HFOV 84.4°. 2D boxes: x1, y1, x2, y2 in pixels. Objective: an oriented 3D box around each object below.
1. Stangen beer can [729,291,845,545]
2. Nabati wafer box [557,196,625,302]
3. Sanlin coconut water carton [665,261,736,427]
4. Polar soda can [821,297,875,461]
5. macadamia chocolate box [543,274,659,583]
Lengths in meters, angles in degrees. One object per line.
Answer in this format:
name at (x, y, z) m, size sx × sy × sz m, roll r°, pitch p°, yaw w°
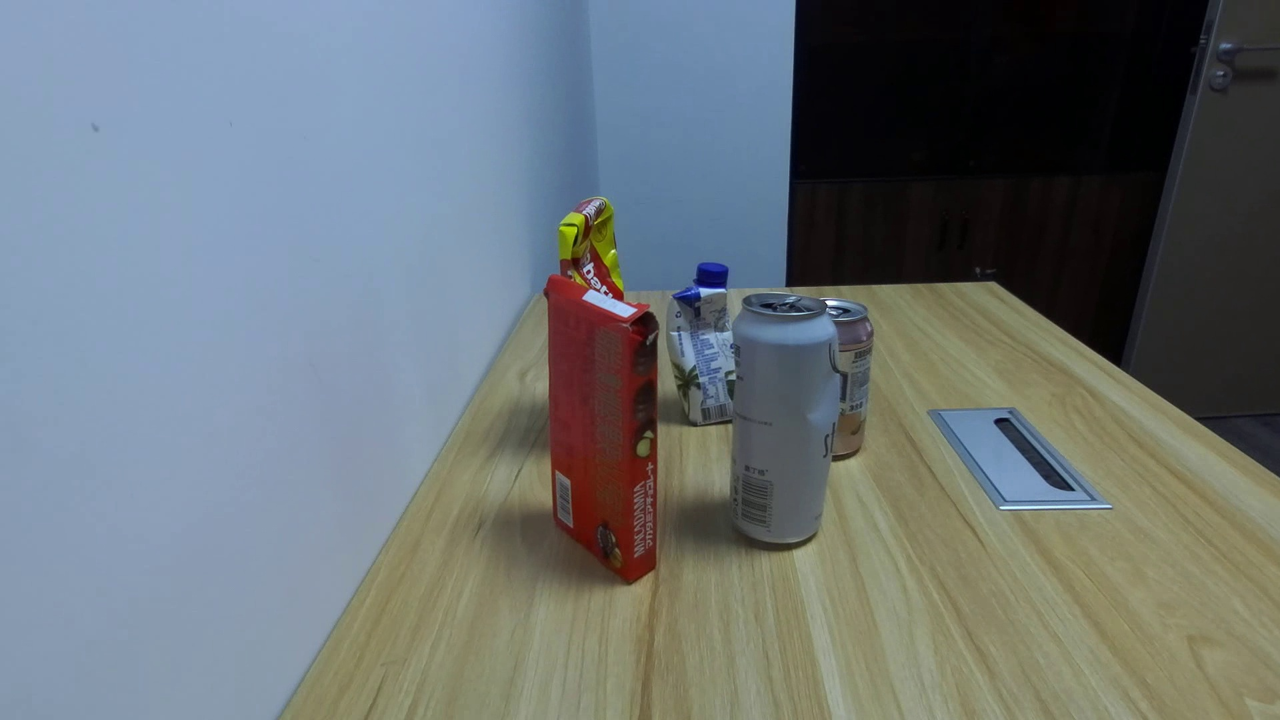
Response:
Stangen beer can at (0.097, 0.038, 0.480) m, size 0.070 × 0.173 × 0.070 m, roll -3°, pitch 23°, yaw -3°
Nabati wafer box at (-0.037, -0.031, 0.620) m, size 0.042 × 0.205 × 0.113 m, roll -1°, pitch 26°, yaw 6°
Sanlin coconut water carton at (0.058, -0.015, 0.648) m, size 0.068 × 0.145 × 0.056 m, roll -12°, pitch 14°, yaw -1°
Polar soda can at (0.159, 0.017, 0.595) m, size 0.067 × 0.125 × 0.067 m, roll -2°, pitch 19°, yaw 1°
macadamia chocolate box at (-0.027, 0.043, 0.467) m, size 0.027 × 0.187 × 0.102 m, roll -15°, pitch 27°, yaw -36°
